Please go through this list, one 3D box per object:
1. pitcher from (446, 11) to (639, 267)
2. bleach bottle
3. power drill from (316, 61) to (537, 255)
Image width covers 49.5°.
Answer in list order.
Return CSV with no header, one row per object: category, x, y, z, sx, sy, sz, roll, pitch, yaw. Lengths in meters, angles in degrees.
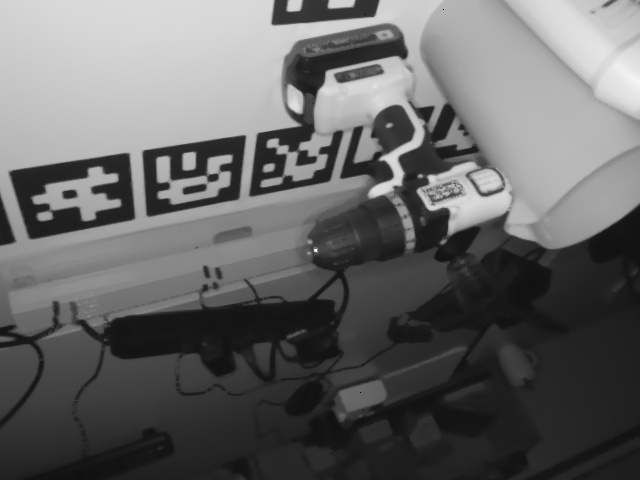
pitcher,0.228,-0.108,0.640,0.189,0.242,0.133,-27,146,0
bleach bottle,0.264,-0.158,0.558,0.104,0.251,0.067,-16,146,-17
power drill,0.068,-0.072,0.592,0.186,0.187,0.057,-10,142,-15
